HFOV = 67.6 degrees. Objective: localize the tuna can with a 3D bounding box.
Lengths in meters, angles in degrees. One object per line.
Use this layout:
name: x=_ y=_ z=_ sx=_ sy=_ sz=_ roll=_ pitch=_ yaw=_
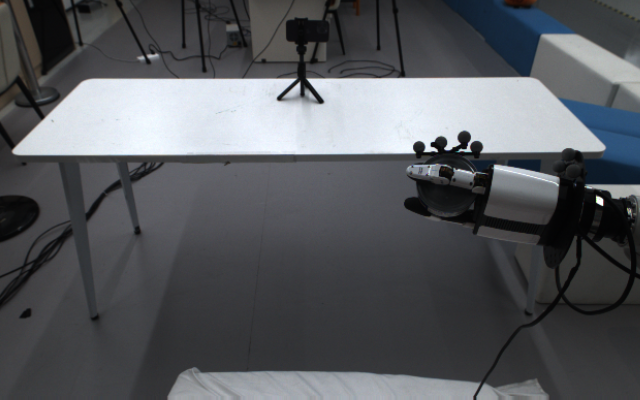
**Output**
tuna can: x=0.179 y=-0.021 z=0.681 sx=0.085 sy=0.034 sz=0.085 roll=-3 pitch=73 yaw=11
